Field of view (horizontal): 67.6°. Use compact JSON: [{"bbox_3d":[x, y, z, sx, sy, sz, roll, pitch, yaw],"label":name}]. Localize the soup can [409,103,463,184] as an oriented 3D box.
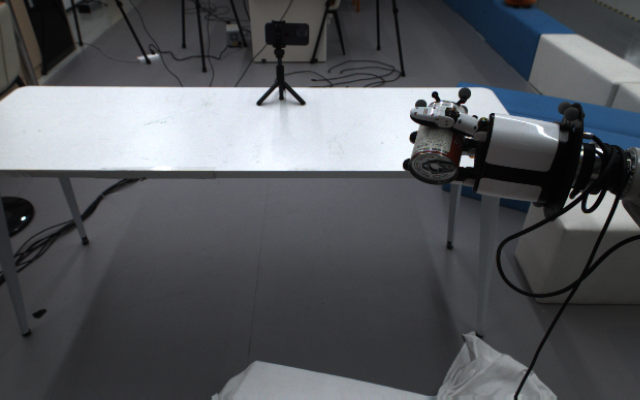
[{"bbox_3d":[0.167,-0.084,0.683,0.067,0.067,0.101,12,59,14],"label":"soup can"}]
